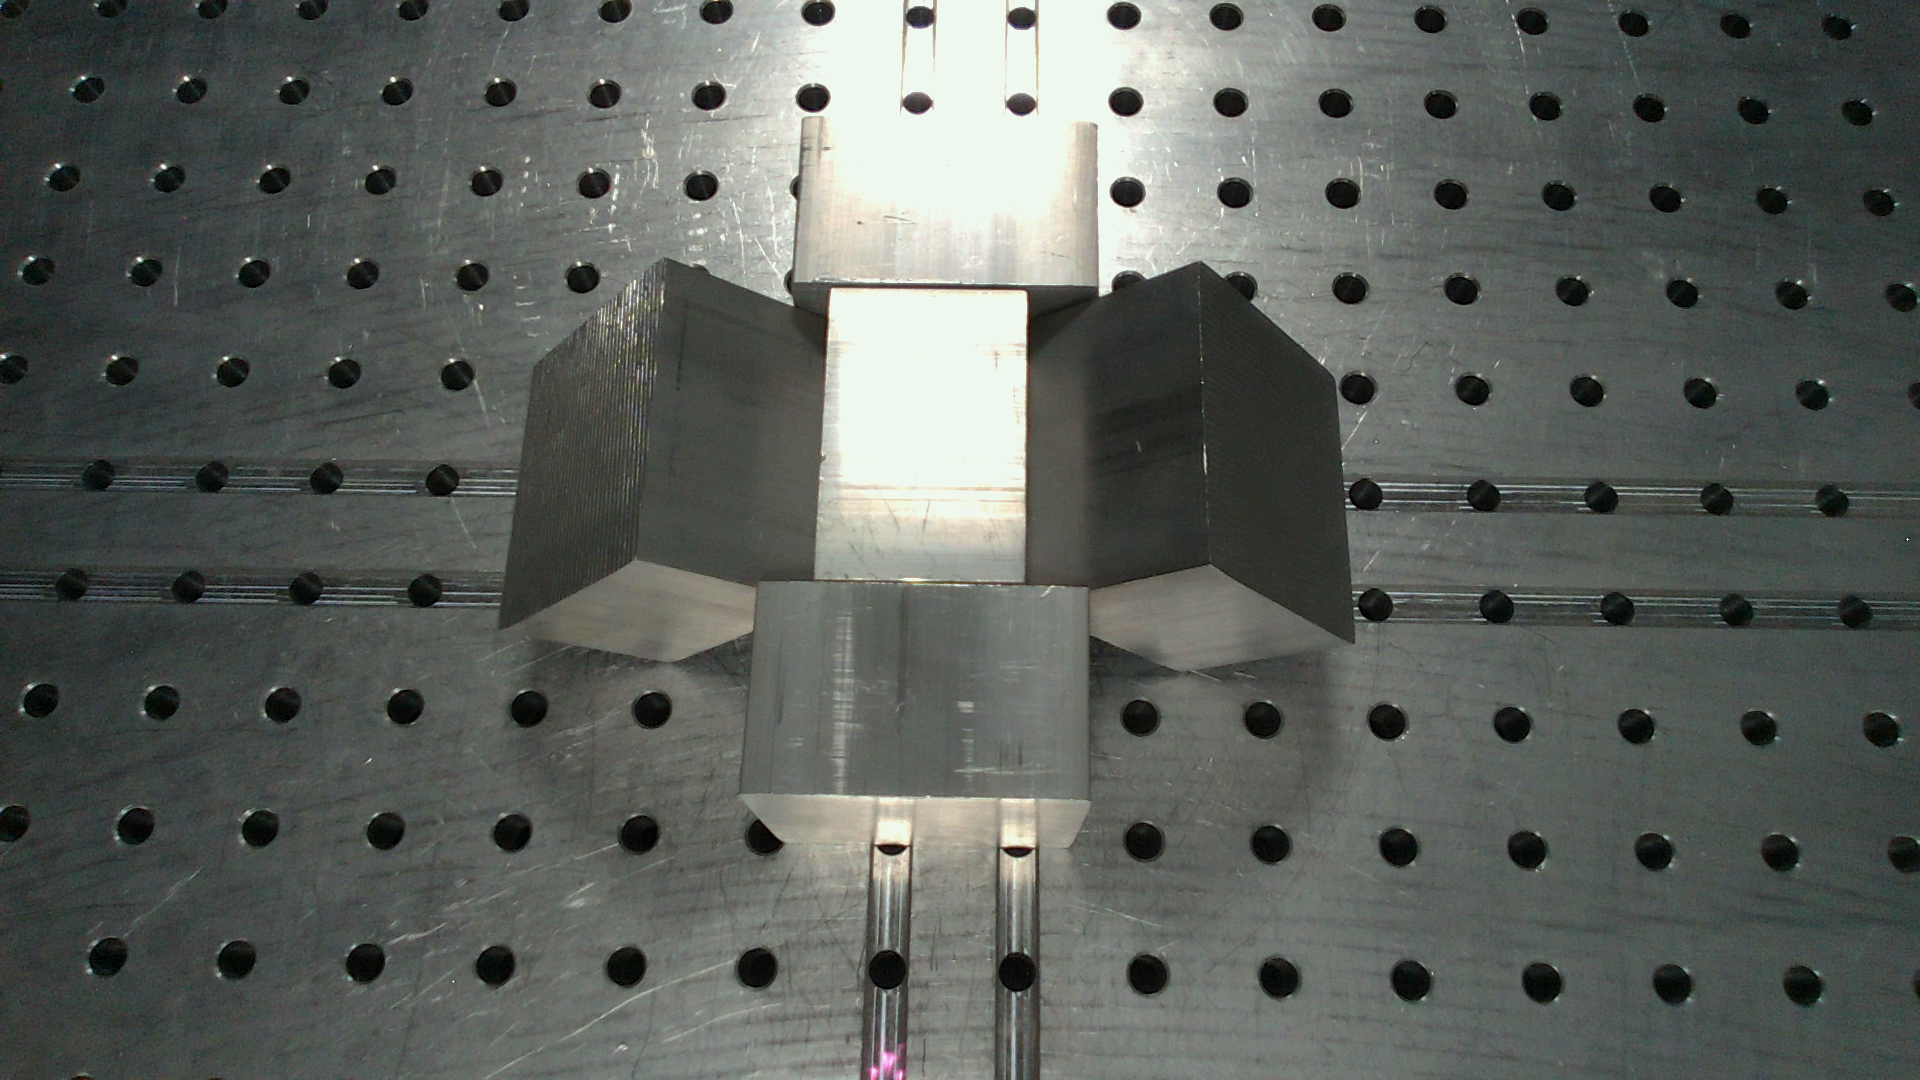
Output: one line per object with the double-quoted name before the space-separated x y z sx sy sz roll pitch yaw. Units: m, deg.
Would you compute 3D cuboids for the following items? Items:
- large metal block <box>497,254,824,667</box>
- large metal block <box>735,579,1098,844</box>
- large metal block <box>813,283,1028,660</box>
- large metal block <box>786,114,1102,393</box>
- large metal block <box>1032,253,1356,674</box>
"large metal block" -0.079 -0.017 0.367 0.050 0.080 0.080 16 66 -36
"large metal block" -0.009 0.047 0.349 0.080 0.080 0.050 1 70 0
"large metal block" -0.008 -0.013 0.372 0.050 0.080 0.080 1 70 1
"large metal block" -0.003 -0.075 0.394 0.080 0.080 0.050 1 70 0
"large metal block" 0.062 -0.016 0.365 0.050 0.080 0.080 -14 64 35
